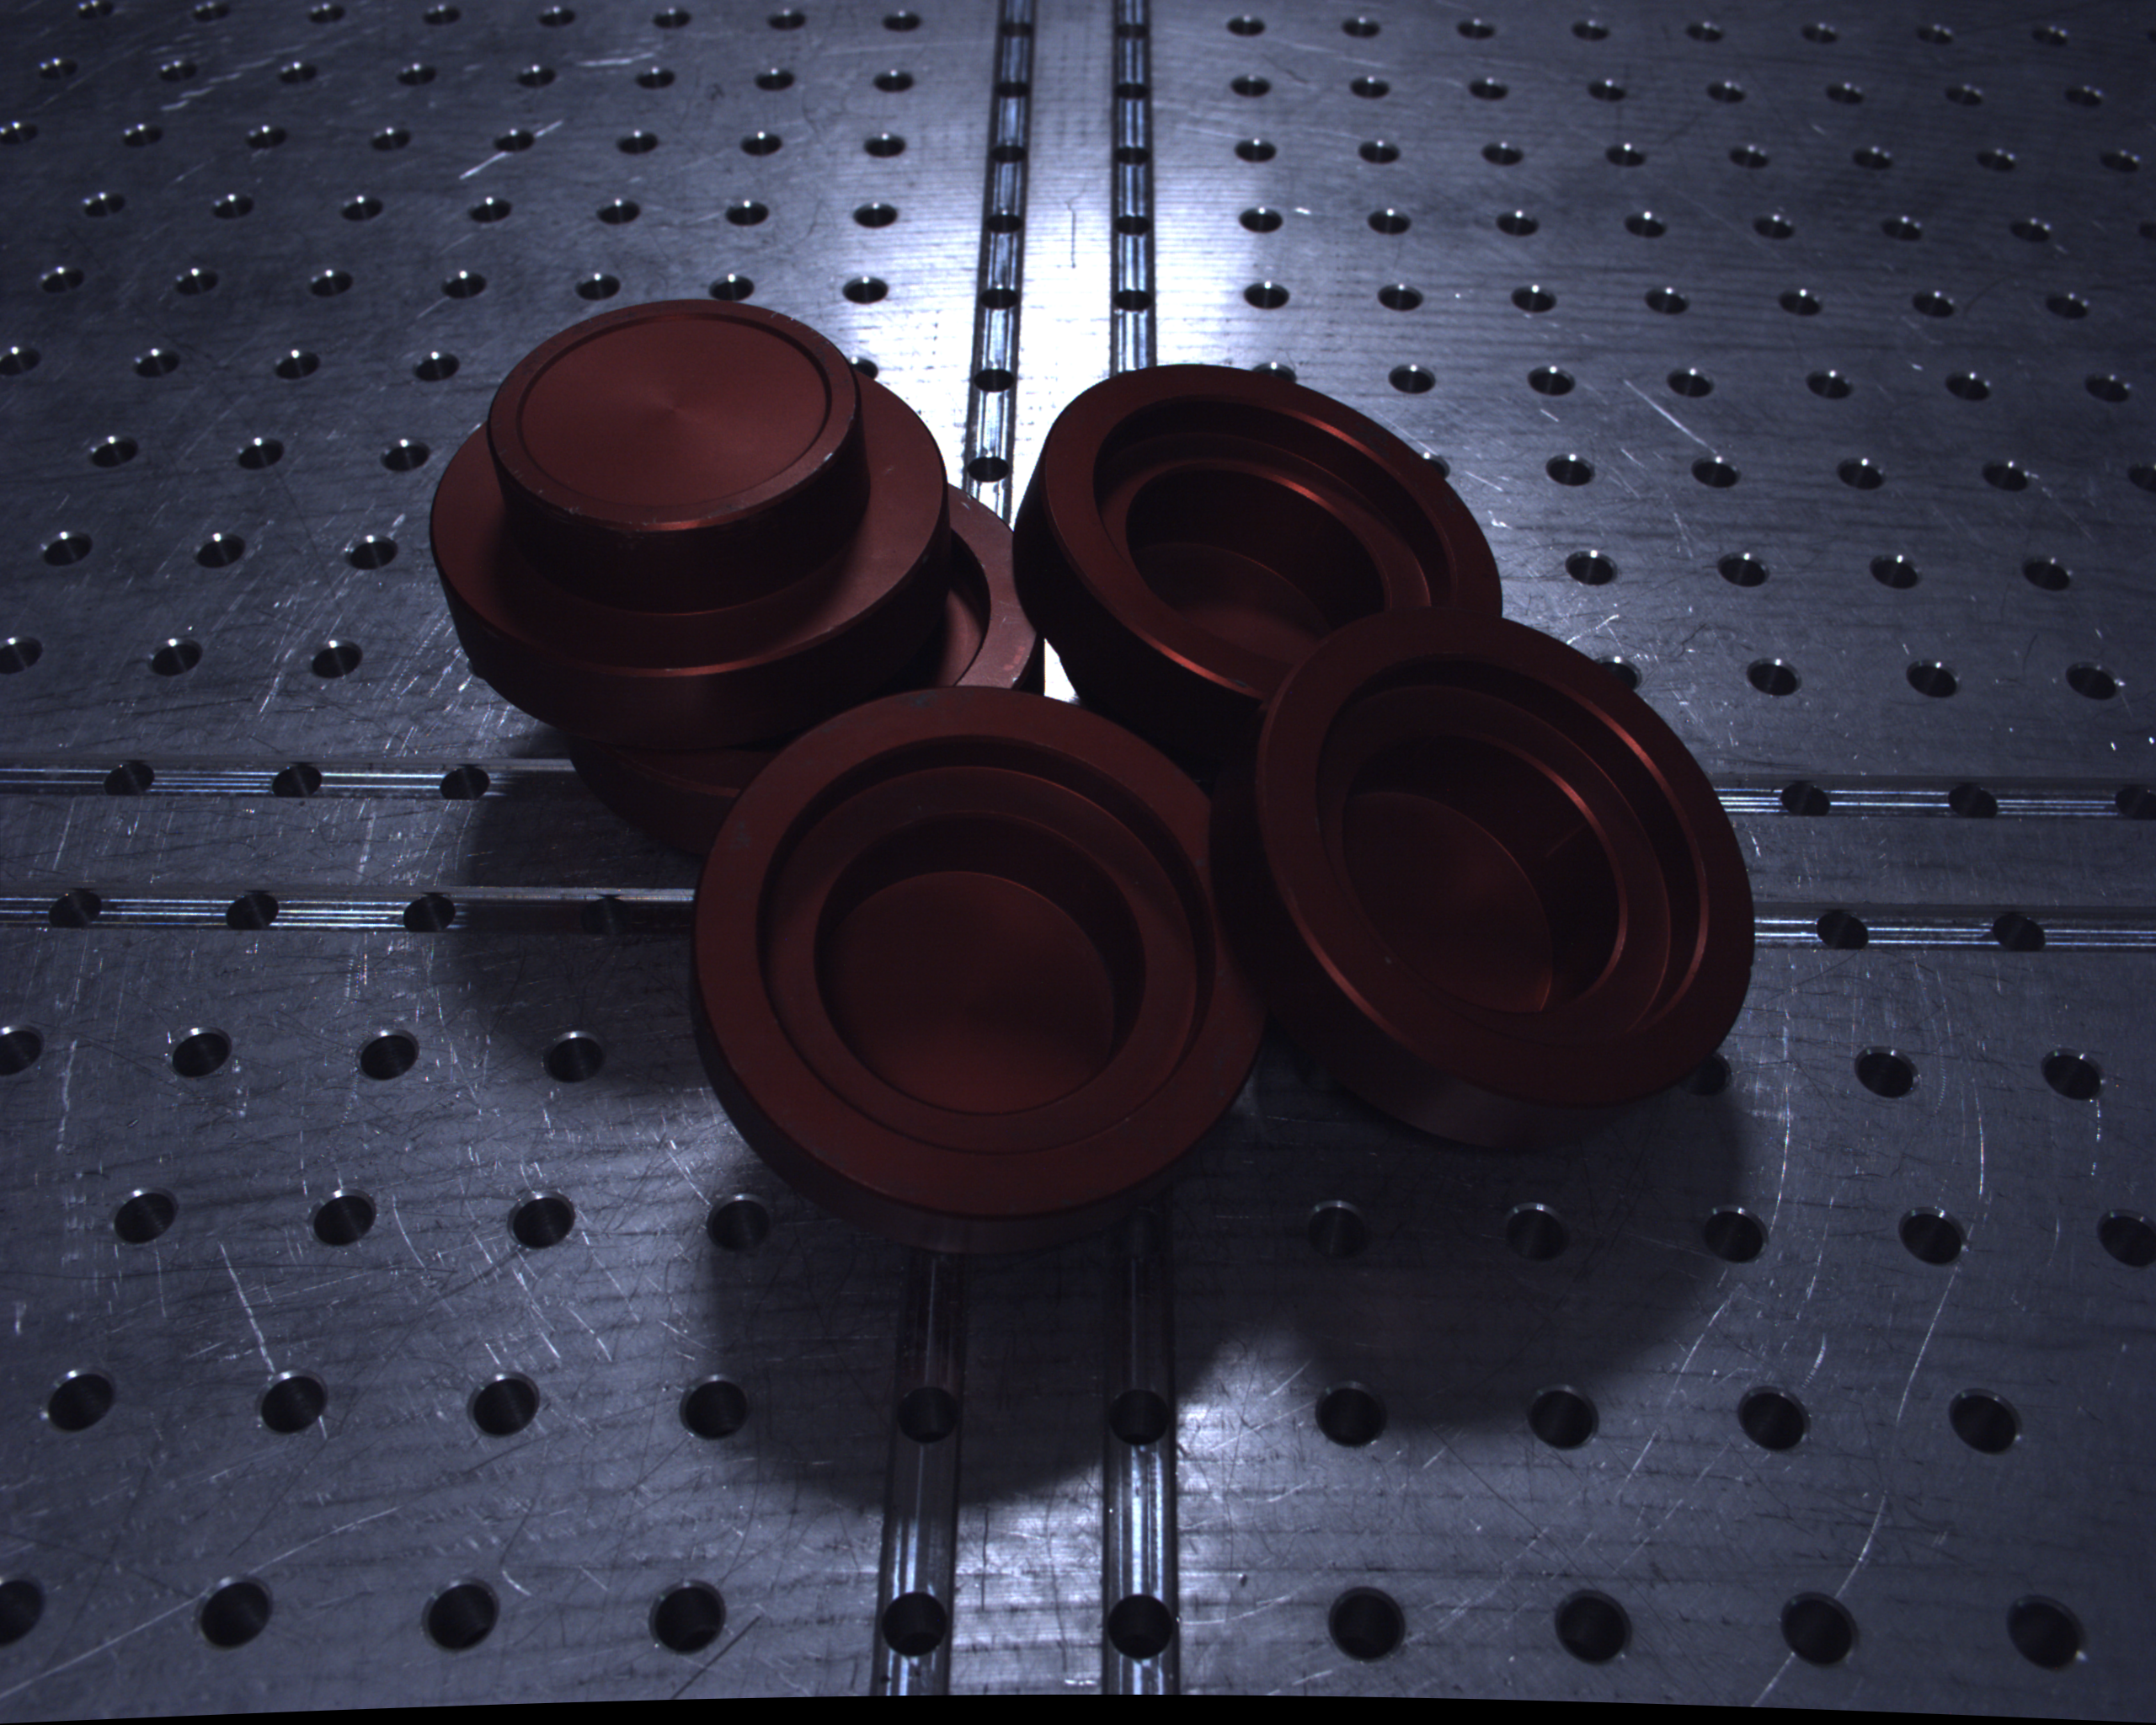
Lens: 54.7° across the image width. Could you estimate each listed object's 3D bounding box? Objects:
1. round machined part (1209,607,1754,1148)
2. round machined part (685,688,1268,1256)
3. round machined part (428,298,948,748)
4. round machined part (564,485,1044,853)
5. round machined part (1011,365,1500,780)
[{"bbox_3d":[0.068,0.006,0.377,0.099,0.042,0.098,11,59,-18],"label":"round machined part"},{"bbox_3d":[-0.019,0.022,0.367,0.099,0.042,0.098,5,64,-9],"label":"round machined part"},{"bbox_3d":[-0.075,-0.071,0.400,0.099,0.042,0.098,0,50,0],"label":"round machined part"},{"bbox_3d":[-0.056,-0.037,0.426,0.099,0.042,0.098,0,50,0],"label":"round machined part"},{"bbox_3d":[0.033,-0.055,0.431,0.099,0.042,0.098,11,50,-13],"label":"round machined part"}]
